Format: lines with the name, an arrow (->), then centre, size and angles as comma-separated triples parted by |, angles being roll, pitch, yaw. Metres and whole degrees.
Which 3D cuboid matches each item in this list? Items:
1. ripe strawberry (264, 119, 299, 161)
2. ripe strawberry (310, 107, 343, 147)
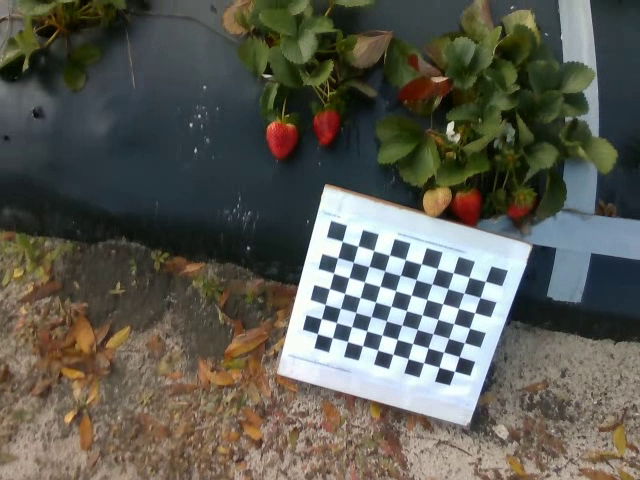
ripe strawberry -> -0.059, -0.131, 0.680 | 0.050, 0.061, 0.045 | 5, -26, 7
ripe strawberry -> 0.005, -0.150, 0.679 | 0.042, 0.053, 0.034 | -1, -23, 8
